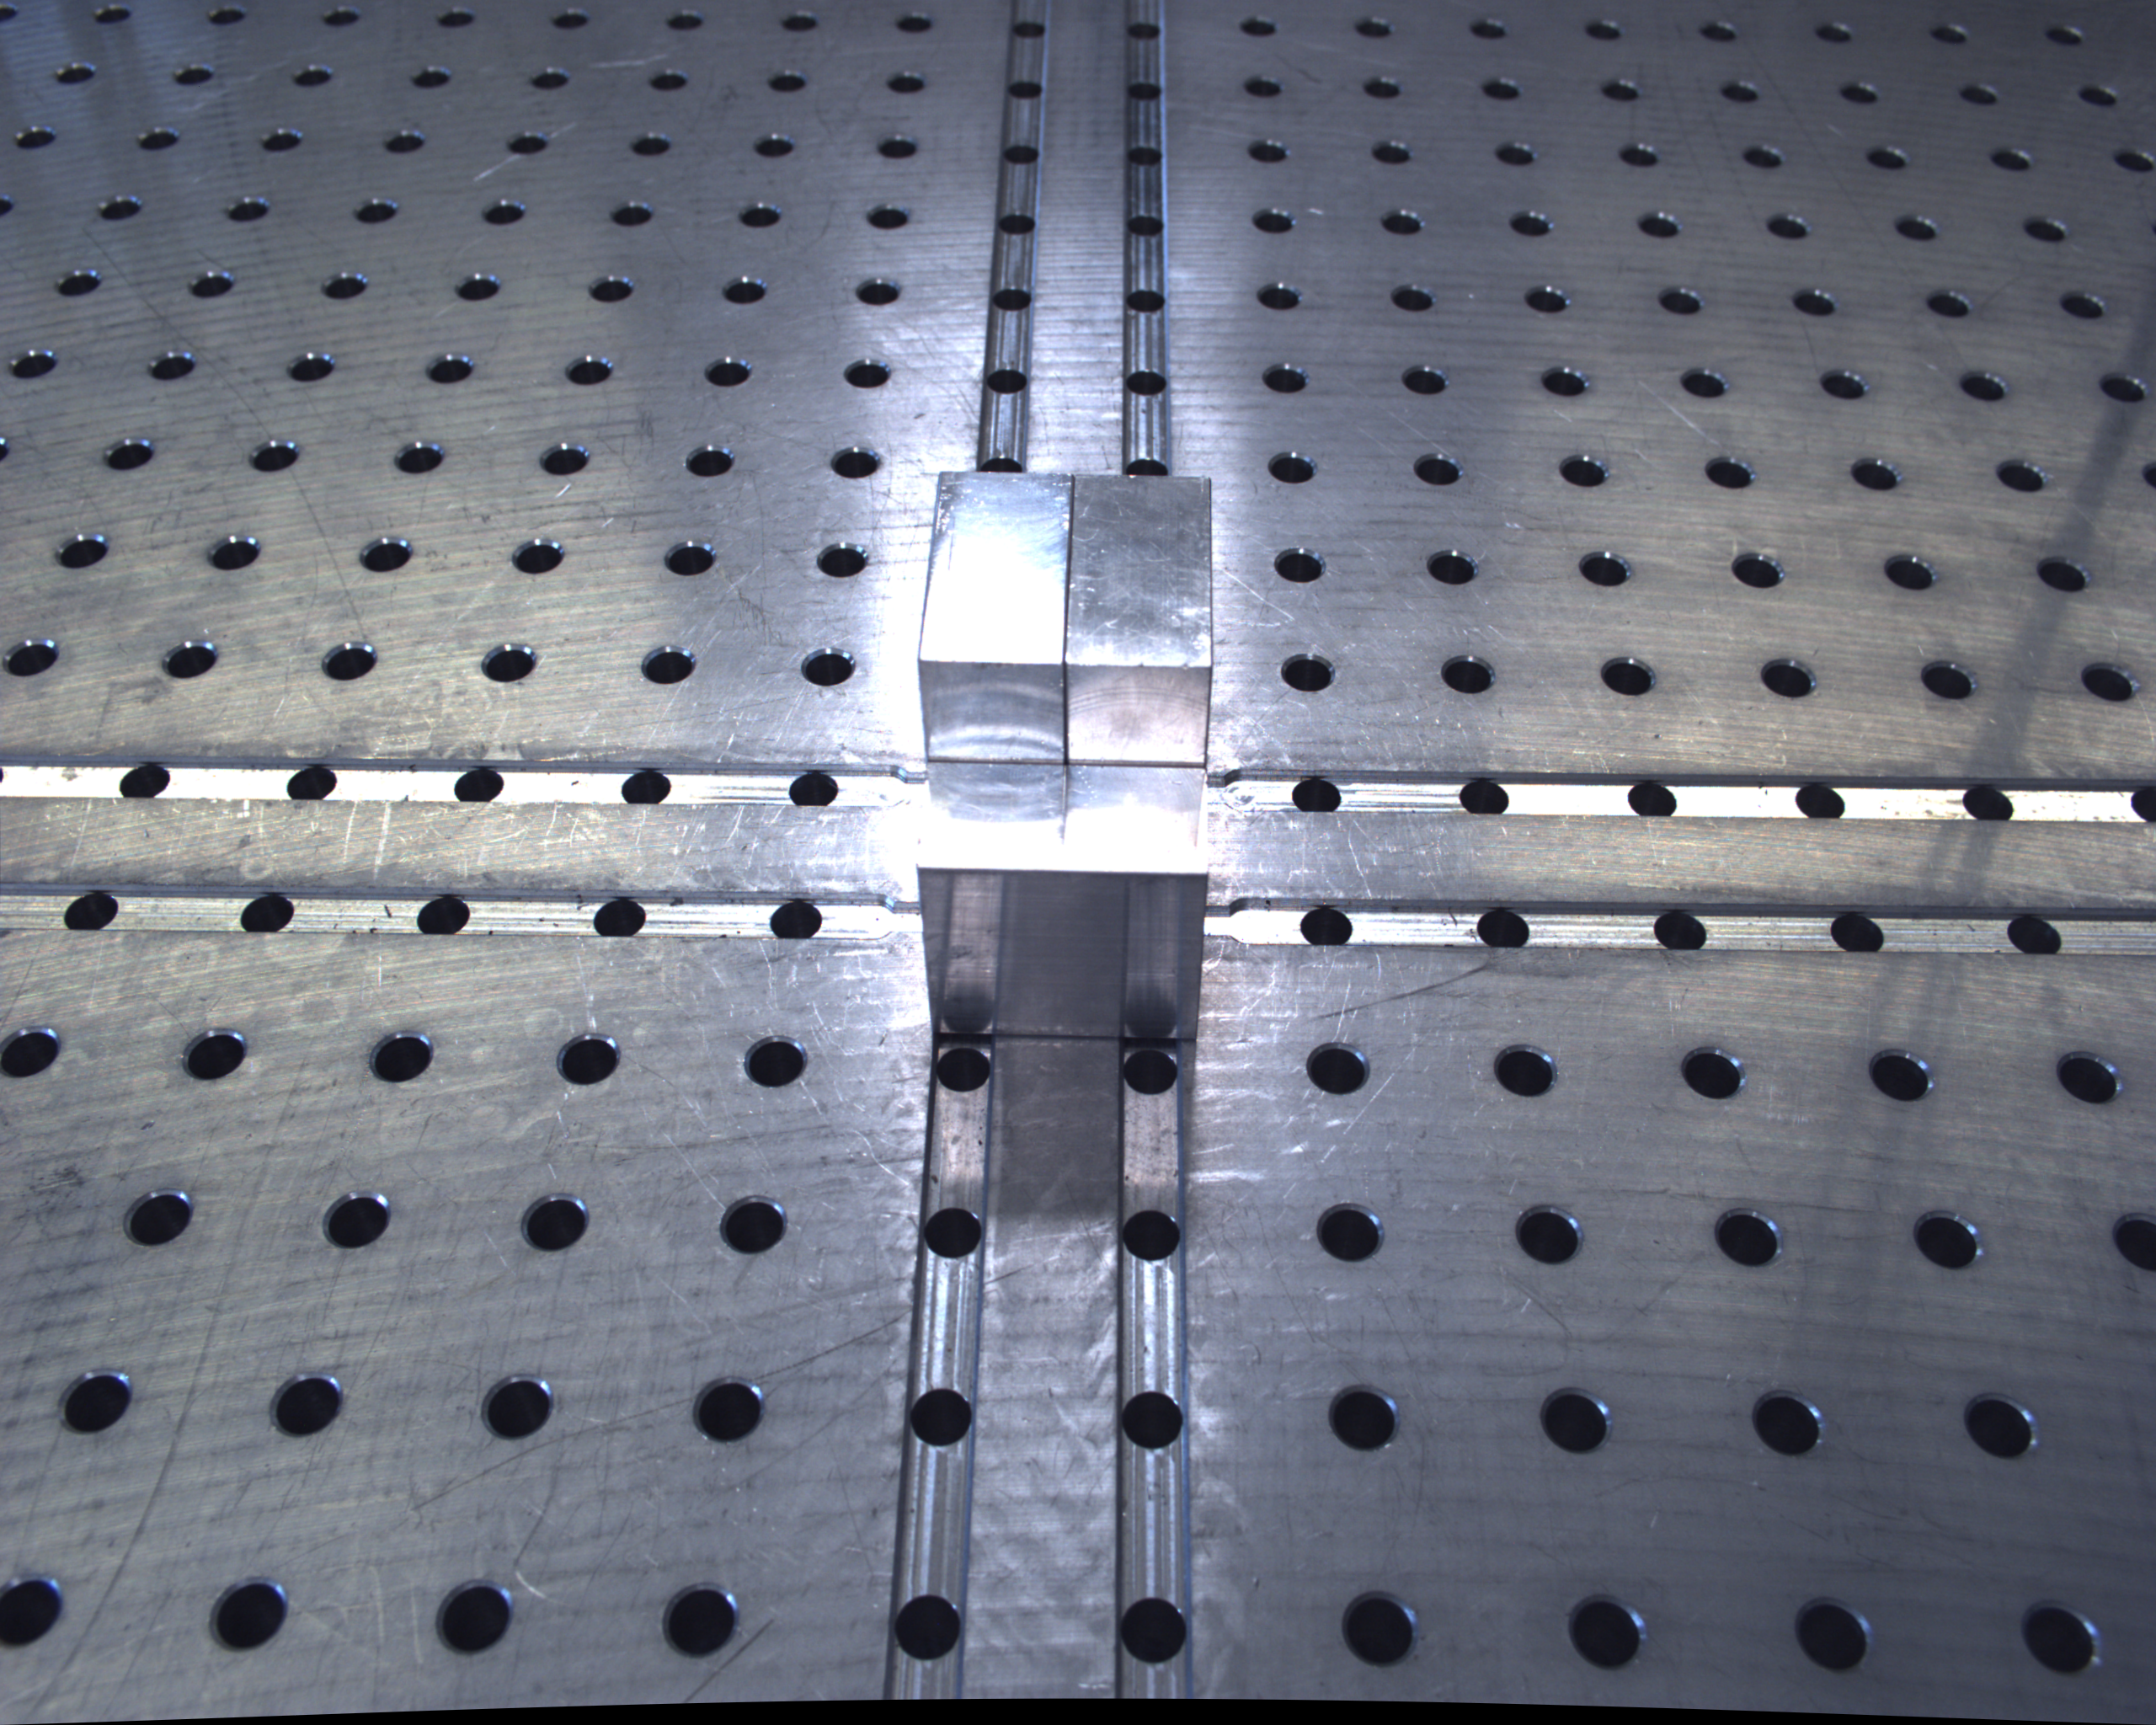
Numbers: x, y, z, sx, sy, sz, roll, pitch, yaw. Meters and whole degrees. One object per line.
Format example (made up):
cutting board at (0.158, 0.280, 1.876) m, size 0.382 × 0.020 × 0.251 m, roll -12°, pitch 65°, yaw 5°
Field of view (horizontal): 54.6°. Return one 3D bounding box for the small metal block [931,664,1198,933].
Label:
small metal block at (-0.001, -0.013, 0.418) m, size 0.050 × 0.025 × 0.050 m, roll 1°, pitch 50°, yaw 2°

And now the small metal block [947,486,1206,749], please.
small metal block at (0.000, -0.050, 0.433) m, size 0.050 × 0.050 × 0.025 m, roll 1°, pitch 50°, yaw 1°

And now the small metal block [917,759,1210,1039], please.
small metal block at (-0.002, 0.008, 0.385) m, size 0.050 × 0.050 × 0.025 m, roll 1°, pitch 50°, yaw 1°

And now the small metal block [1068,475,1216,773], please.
small metal block at (0.012, -0.037, 0.390) m, size 0.025 × 0.050 × 0.050 m, roll 1°, pitch 50°, yaw 2°

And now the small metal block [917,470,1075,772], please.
small metal block at (-0.014, -0.037, 0.390) m, size 0.025 × 0.050 × 0.050 m, roll 2°, pitch 50°, yaw 1°
